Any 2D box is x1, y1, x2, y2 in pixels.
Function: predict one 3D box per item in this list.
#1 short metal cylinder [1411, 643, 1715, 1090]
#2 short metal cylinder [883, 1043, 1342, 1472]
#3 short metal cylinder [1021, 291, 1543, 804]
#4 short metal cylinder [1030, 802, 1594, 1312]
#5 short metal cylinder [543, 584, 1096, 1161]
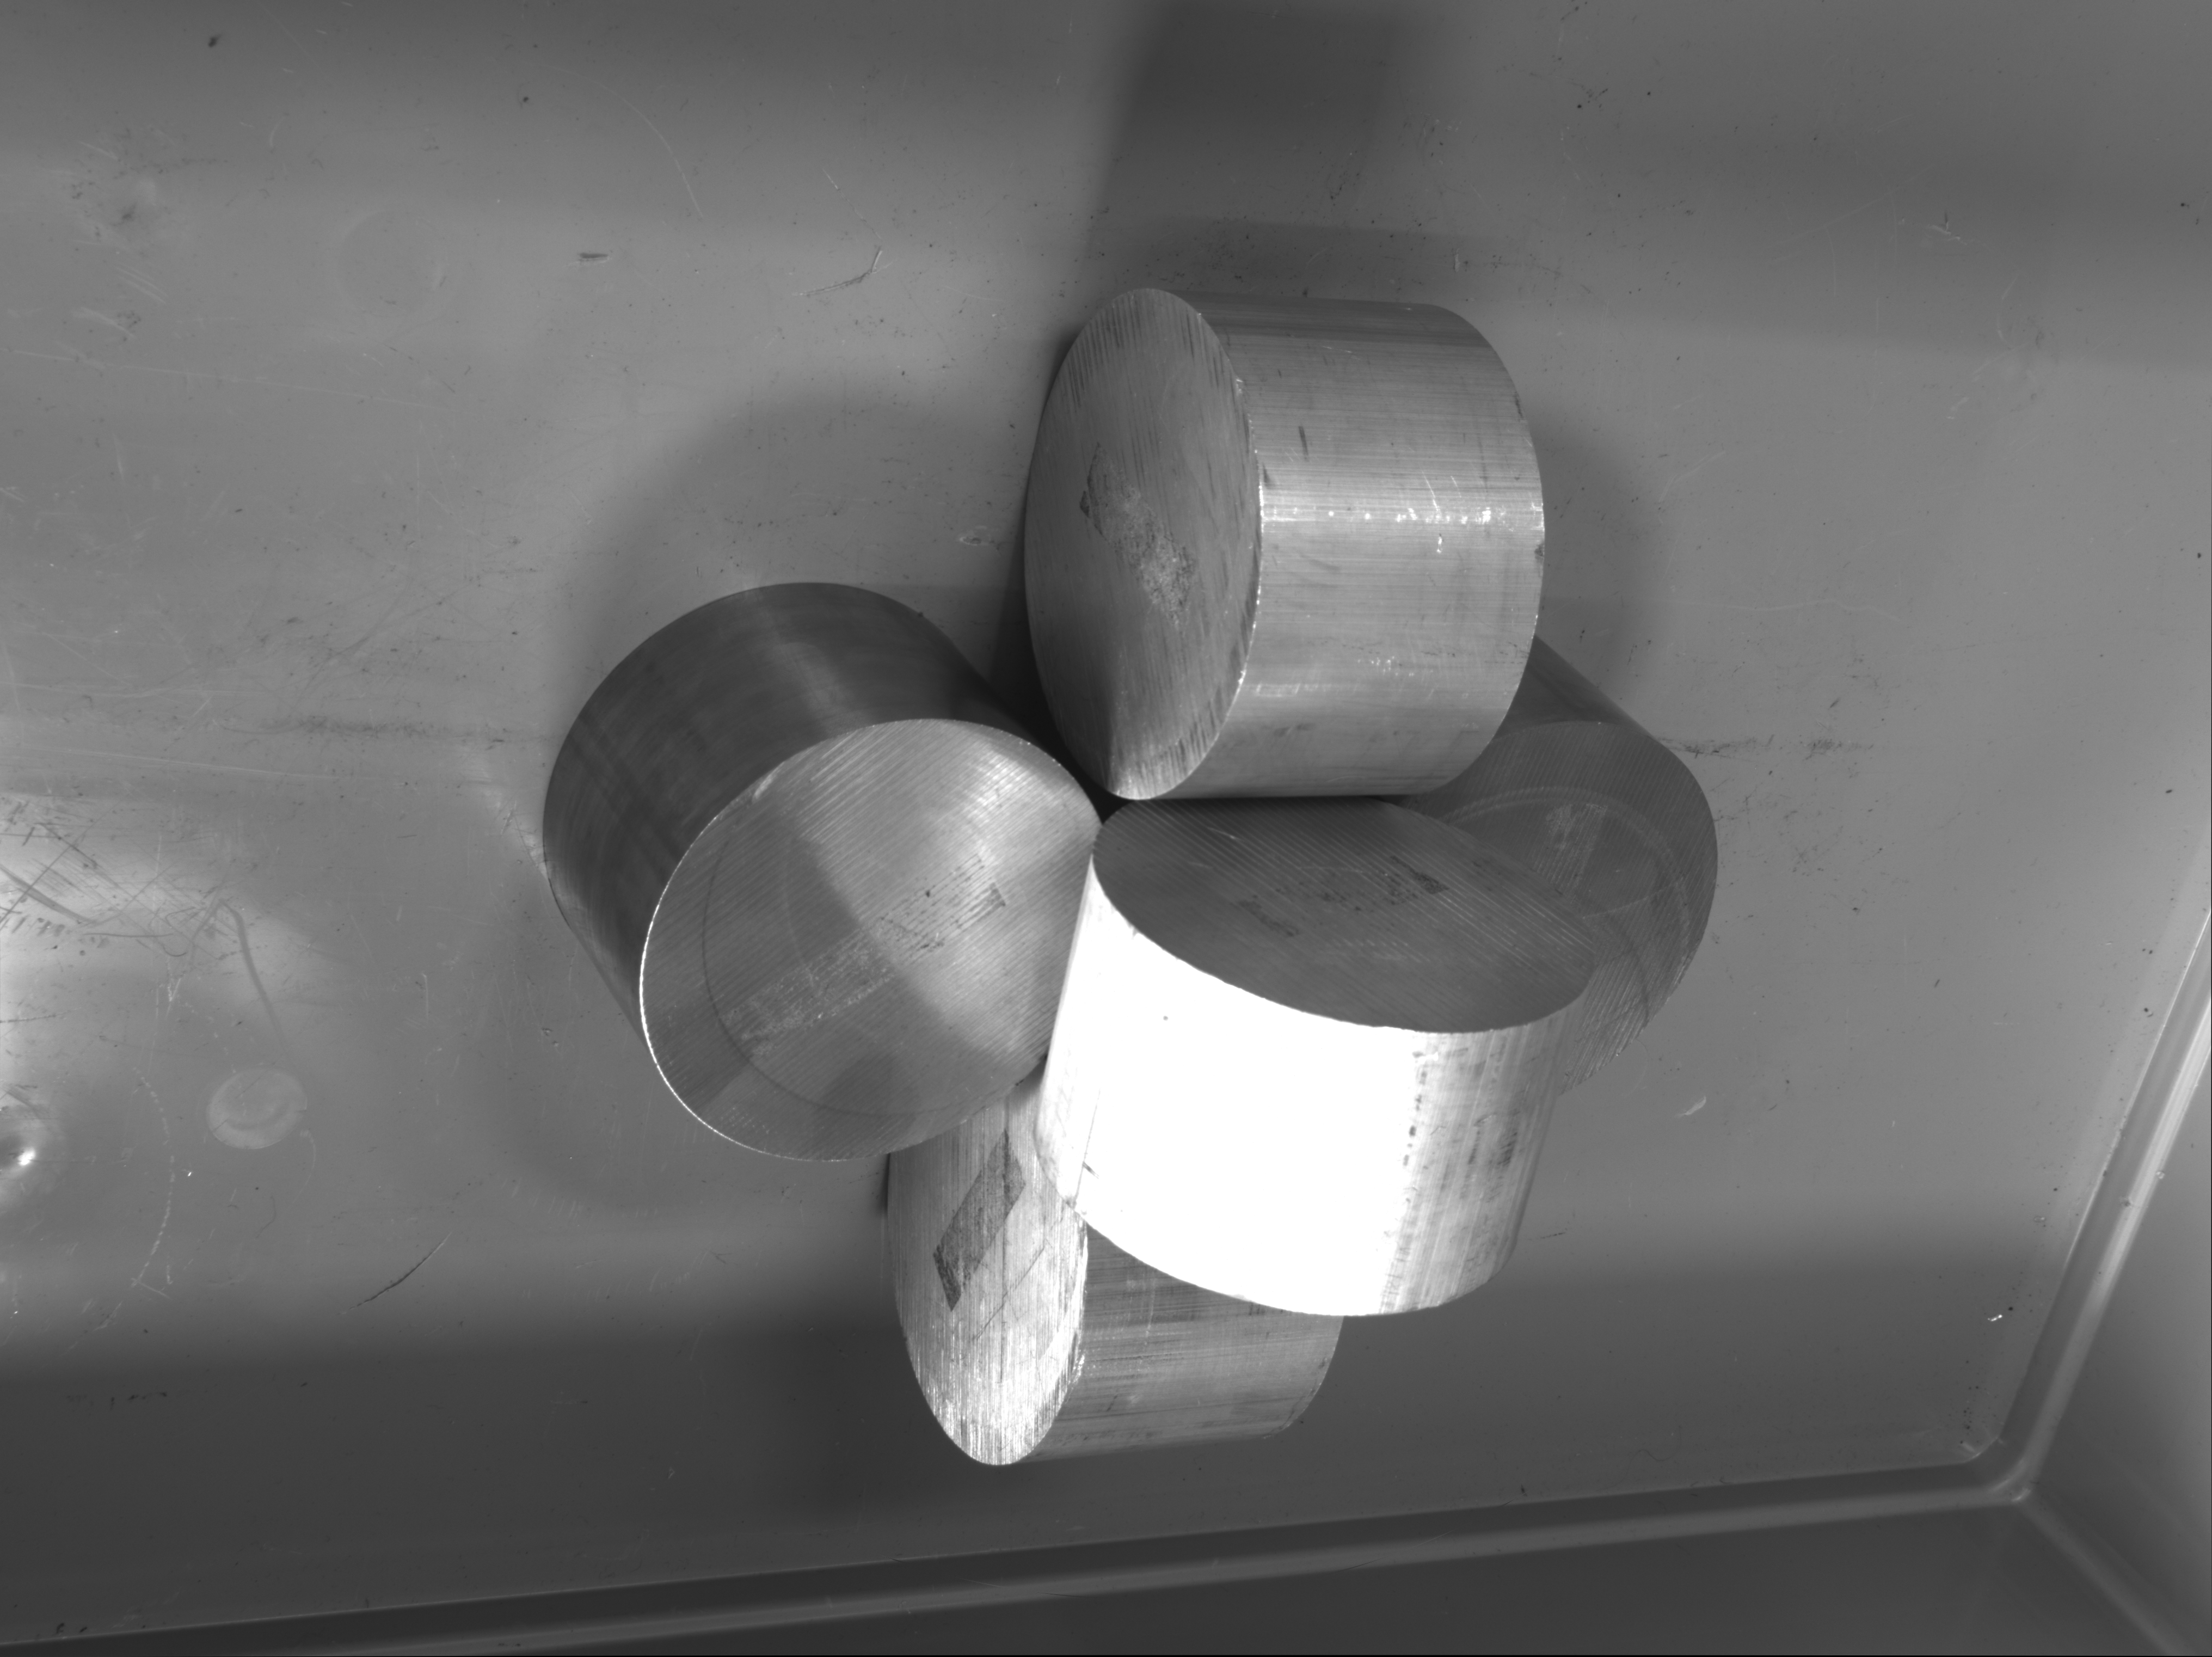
[{"bbox_3d":[0.061,0.006,0.655,0.080,0.050,0.080,-14,124,-21],"label":"short metal cylinder"},{"bbox_3d":[0.000,0.069,0.642,0.050,0.080,0.080,-2,119,-28],"label":"short metal cylinder"},{"bbox_3d":[0.027,-0.045,0.587,0.050,0.080,0.080,-2,119,-28],"label":"short metal cylinder"},{"bbox_3d":[0.032,0.033,0.581,0.080,0.080,0.050,-1,118,-28],"label":"short metal cylinder"},{"bbox_3d":[-0.046,0.007,0.599,0.080,0.050,0.080,-14,124,-21],"label":"short metal cylinder"}]
